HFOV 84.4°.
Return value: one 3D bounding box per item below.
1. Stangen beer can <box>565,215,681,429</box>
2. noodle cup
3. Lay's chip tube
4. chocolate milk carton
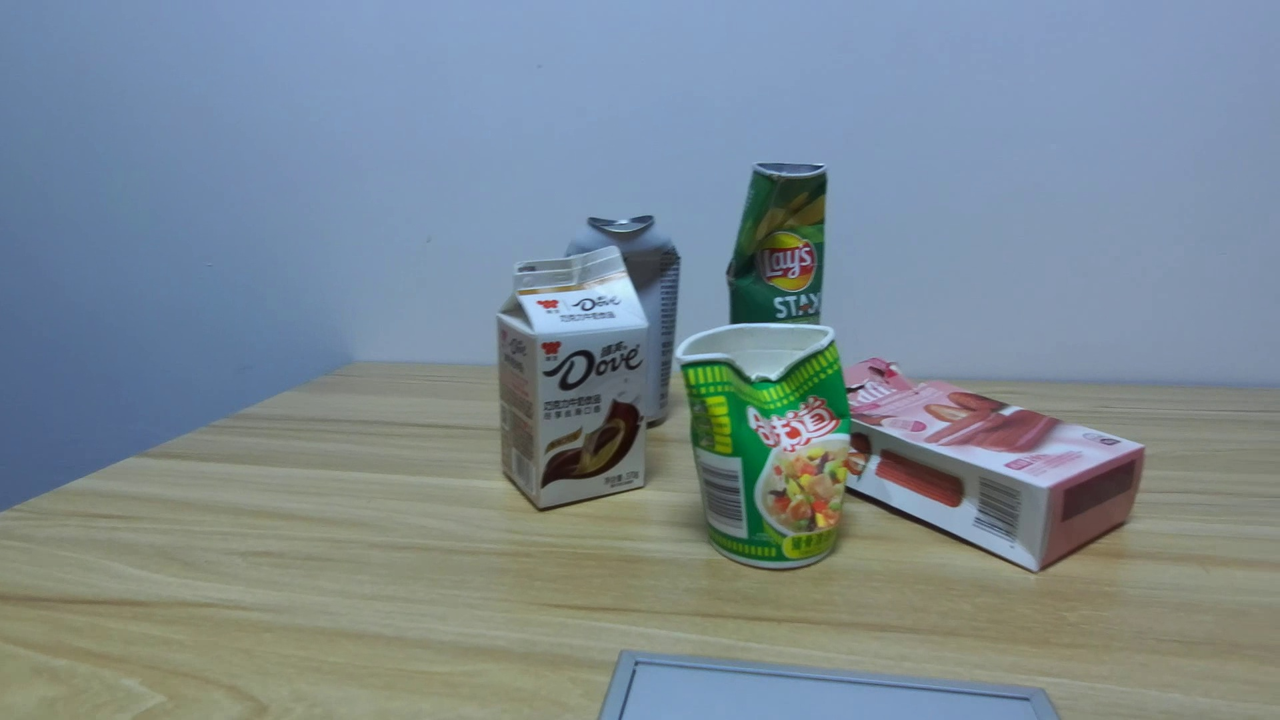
[{"bbox_3d":[-0.014,-0.028,0.554,0.077,0.162,0.065,-14,18,-43],"label":"Stangen beer can"},{"bbox_3d":[0.069,0.042,0.369,0.083,0.122,0.075,-9,6,5],"label":"noodle cup"},{"bbox_3d":[0.105,-0.047,0.541,0.069,0.201,0.077,3,18,13],"label":"Lay's chip tube"},{"bbox_3d":[-0.042,0.007,0.443,0.076,0.148,0.073,-6,15,-27],"label":"chocolate milk carton"}]
